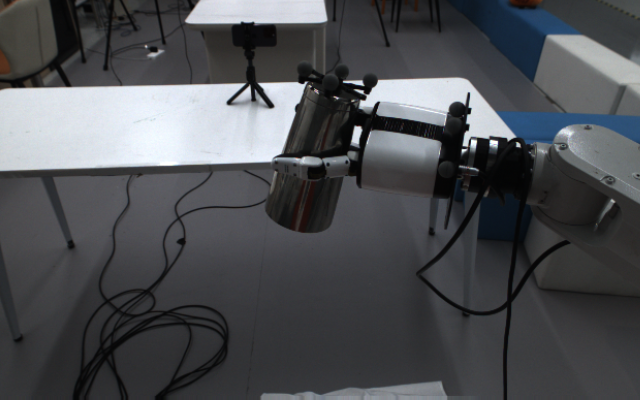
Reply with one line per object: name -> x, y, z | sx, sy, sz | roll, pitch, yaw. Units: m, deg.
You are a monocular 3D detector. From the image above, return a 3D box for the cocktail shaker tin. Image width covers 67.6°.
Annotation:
cocktail shaker tin -> -0.004, -0.056, 0.596 | 0.093, 0.170, 0.093 | 12, 29, -7
